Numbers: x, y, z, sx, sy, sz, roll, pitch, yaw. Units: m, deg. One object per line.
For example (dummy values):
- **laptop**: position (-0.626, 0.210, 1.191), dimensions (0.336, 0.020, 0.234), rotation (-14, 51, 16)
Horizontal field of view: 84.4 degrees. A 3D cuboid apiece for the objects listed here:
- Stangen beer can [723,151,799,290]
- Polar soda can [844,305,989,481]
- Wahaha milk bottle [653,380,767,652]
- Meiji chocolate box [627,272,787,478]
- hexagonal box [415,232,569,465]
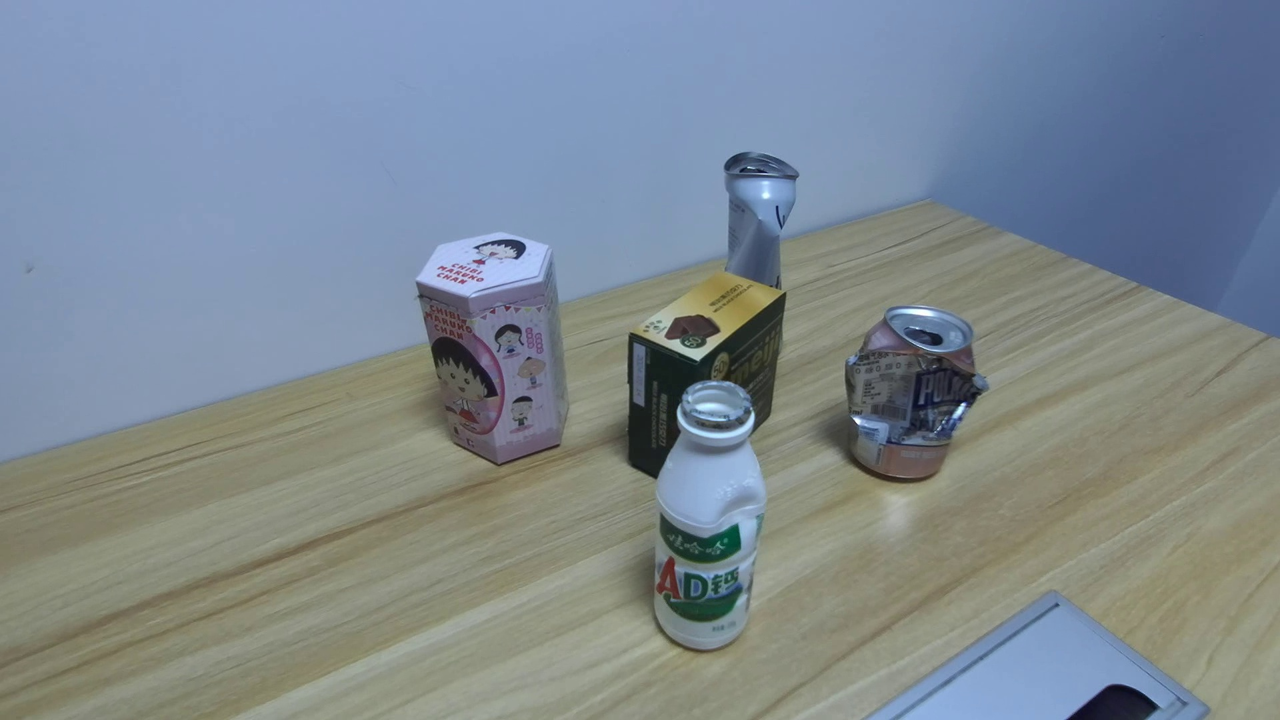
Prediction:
- **Stangen beer can**: position (0.089, -0.077, 0.559), dimensions (0.076, 0.162, 0.066), rotation (29, 45, 35)
- **Polar soda can**: position (0.179, 0.022, 0.463), dimensions (0.074, 0.114, 0.070), rotation (-29, 49, -31)
- **Wahaha milk bottle**: position (0.034, 0.084, 0.350), dimensions (0.053, 0.137, 0.053), rotation (0, 34, 0)
- **Meiji chocolate box**: position (0.045, 0.013, 0.477), dimensions (0.056, 0.109, 0.110), rotation (24, 41, 31)
- **hexagonal box**: position (-0.097, -0.007, 0.487), dimensions (0.091, 0.136, 0.084), rotation (19, 38, 27)
